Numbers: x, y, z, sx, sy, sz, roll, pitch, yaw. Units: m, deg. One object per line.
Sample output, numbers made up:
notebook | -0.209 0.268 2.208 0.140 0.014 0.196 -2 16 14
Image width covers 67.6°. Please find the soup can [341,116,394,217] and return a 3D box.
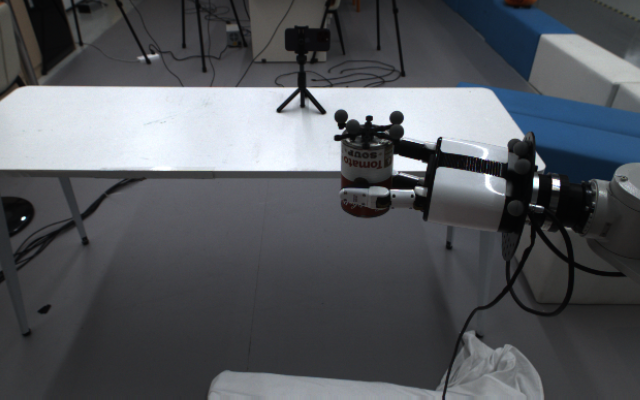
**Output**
soup can | 0.062 -0.039 0.624 0.067 0.101 0.067 -2 34 1
